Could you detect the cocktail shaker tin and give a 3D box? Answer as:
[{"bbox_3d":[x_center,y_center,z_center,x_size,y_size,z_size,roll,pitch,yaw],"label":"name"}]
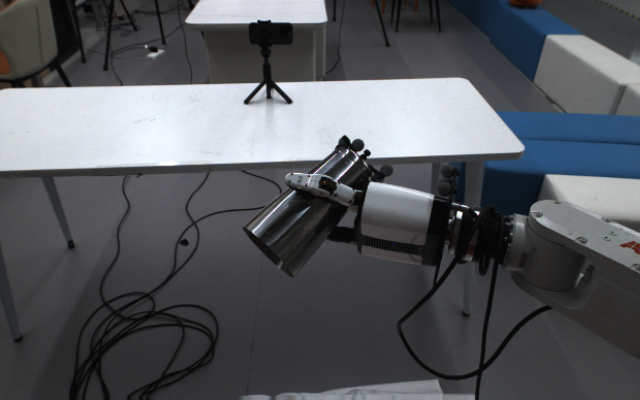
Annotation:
[{"bbox_3d":[-0.009,0.005,0.643,0.170,0.093,0.093,-43,50,-14],"label":"cocktail shaker tin"}]
